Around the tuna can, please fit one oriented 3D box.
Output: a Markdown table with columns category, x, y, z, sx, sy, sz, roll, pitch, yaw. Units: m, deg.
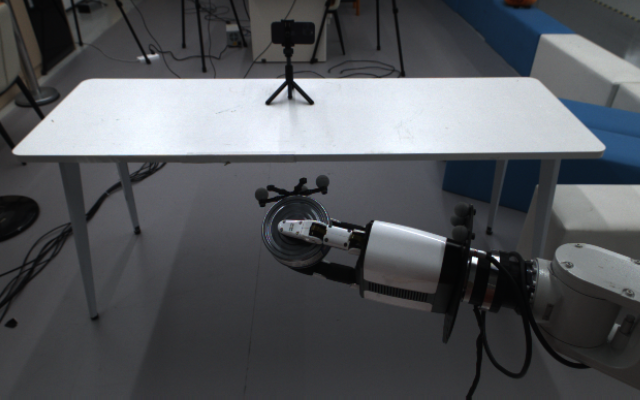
| category | x | y | z | sx | sy | sz | roll | pitch | yaw |
| --- | --- | --- | --- | --- | --- | --- | --- | --- | --- |
| tuna can | -0.023 | 0.043 | 0.587 | 0.085 | 0.034 | 0.085 | -4 | 68 | 9 |
